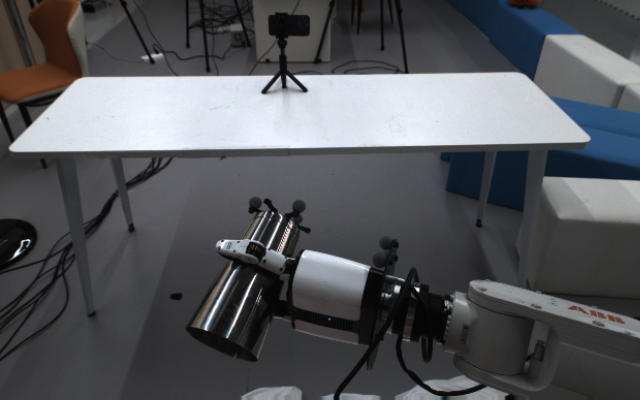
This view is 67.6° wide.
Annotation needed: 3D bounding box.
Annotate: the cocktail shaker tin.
[{"bbox_3d":[-0.086,0.100,0.601,0.093,0.093,0.170,14,58,16],"label":"cocktail shaker tin"}]
